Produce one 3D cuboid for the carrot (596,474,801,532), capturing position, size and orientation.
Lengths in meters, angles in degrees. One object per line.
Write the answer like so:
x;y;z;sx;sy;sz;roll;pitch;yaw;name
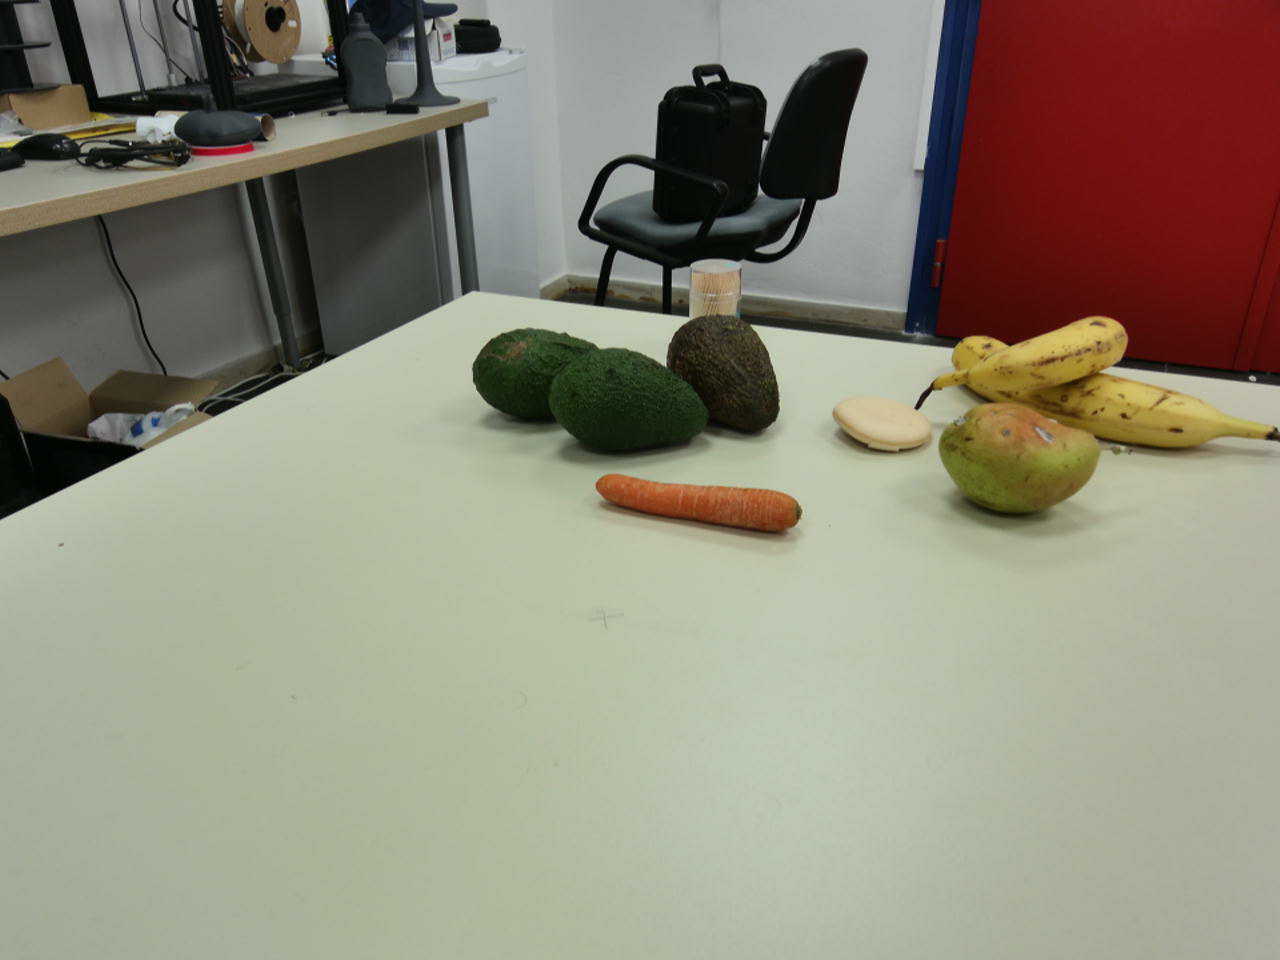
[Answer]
0.031;0.011;0.568;0.122;0.023;0.024;9;27;20;carrot
